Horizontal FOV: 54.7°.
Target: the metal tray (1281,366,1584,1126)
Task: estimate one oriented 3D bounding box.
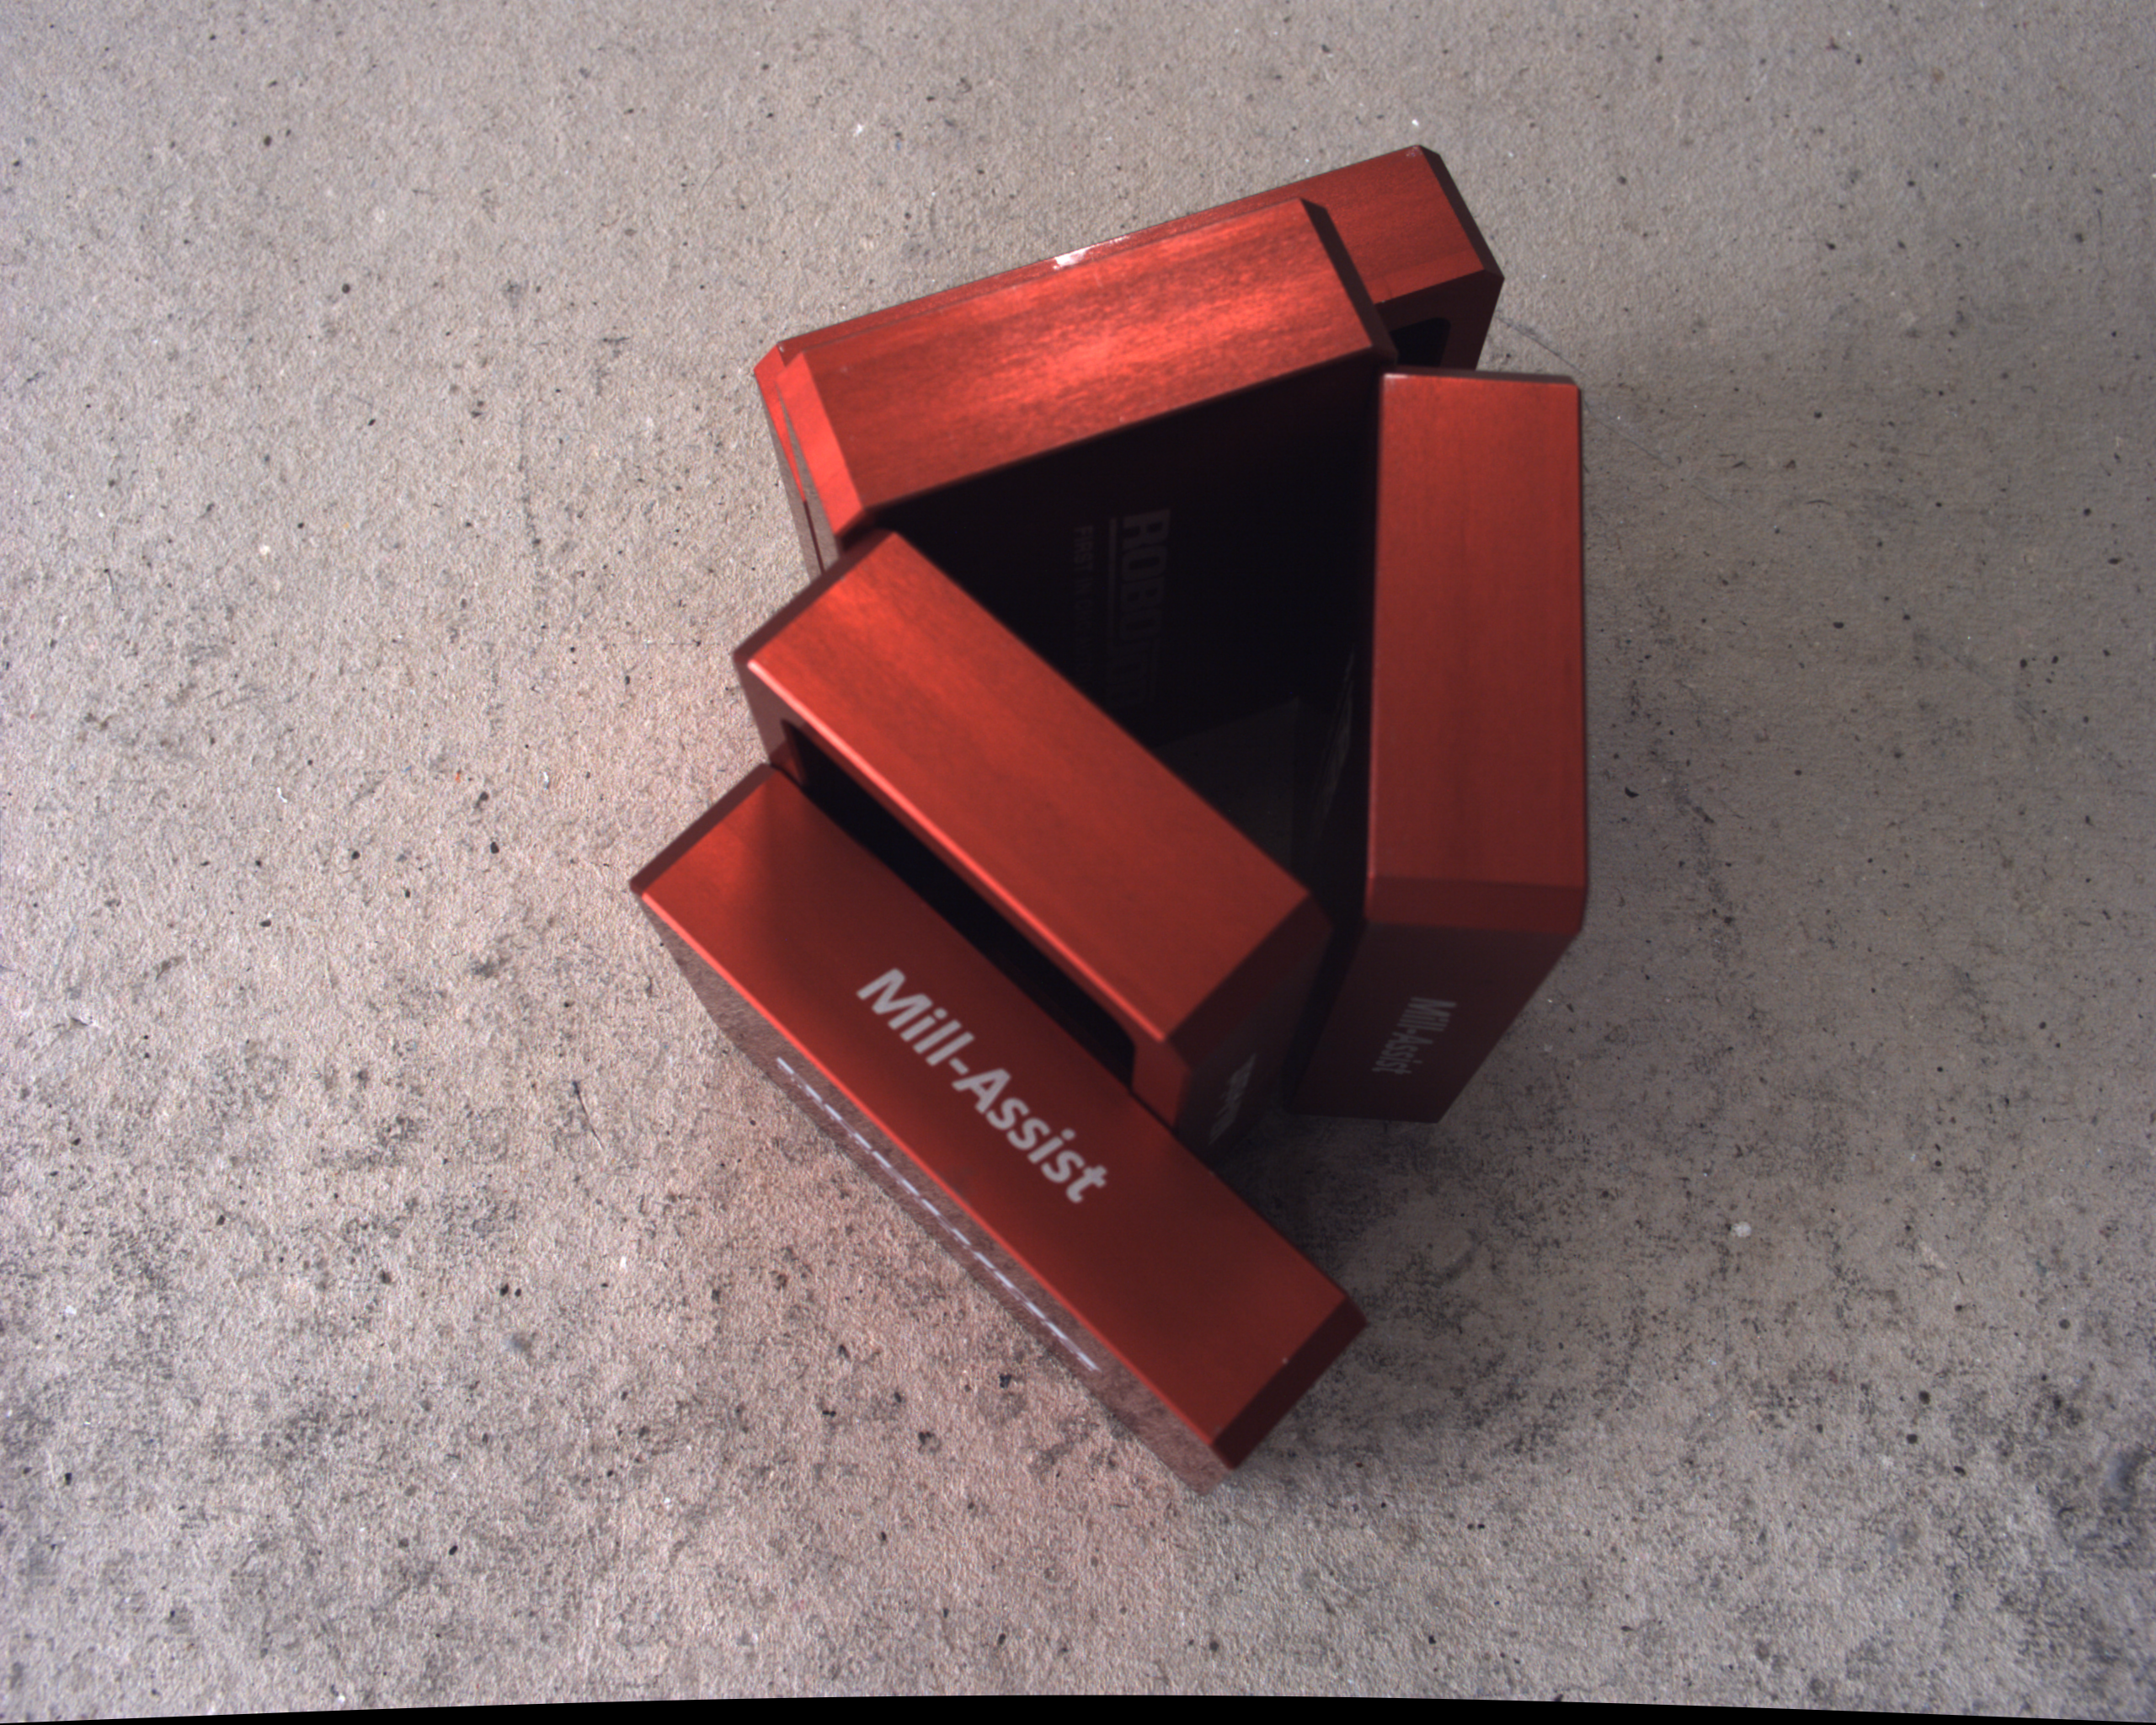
[{"bbox_3d":[0.057,-0.013,0.358,0.030,0.130,0.090,4,71,2],"label":"metal tray"}]

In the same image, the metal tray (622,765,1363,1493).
[{"bbox_3d":[-0.015,0.049,0.356,0.130,0.090,0.030,42,76,13],"label":"metal tray"}]

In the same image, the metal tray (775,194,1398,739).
[{"bbox_3d":[0.002,-0.056,0.373,0.091,0.130,0.030,-19,72,-7],"label":"metal tray"}]

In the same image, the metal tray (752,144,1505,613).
[{"bbox_3d":[0.009,-0.082,0.404,0.131,0.090,0.030,-19,71,-7],"label":"metal tray"}]

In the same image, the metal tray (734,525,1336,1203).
[{"bbox_3d":[-0.007,0.009,0.350,0.090,0.130,0.030,42,75,13],"label":"metal tray"}]
